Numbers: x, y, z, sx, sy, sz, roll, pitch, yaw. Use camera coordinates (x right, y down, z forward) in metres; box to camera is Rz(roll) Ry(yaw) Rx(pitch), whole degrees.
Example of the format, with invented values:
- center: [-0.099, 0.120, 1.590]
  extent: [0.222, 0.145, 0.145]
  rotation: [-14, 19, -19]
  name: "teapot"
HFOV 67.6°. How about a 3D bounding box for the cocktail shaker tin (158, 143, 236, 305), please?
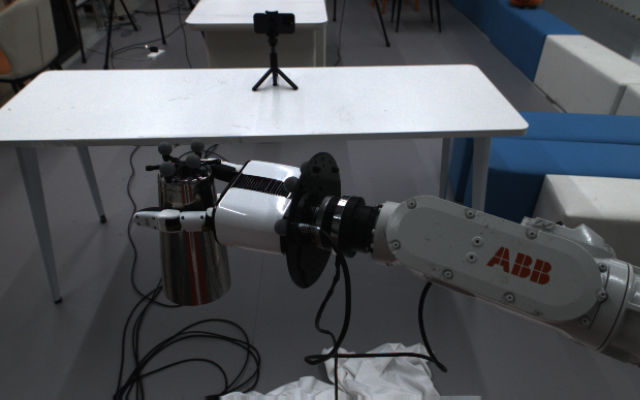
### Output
- center: [-0.165, 0.041, 0.630]
  extent: [0.093, 0.170, 0.093]
  rotation: [1, 27, -1]
  name: "cocktail shaker tin"
